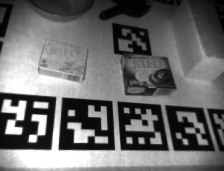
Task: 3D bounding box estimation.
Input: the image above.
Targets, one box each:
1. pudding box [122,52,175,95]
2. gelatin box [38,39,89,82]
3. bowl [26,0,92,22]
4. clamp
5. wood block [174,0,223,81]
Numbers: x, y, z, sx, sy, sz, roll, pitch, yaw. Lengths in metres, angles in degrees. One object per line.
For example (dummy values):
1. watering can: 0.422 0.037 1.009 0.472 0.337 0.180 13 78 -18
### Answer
1. pudding box: 0.082 -0.026 0.494 0.114 0.038 0.089 4 66 -14
2. gelatin box: -0.099 -0.052 0.449 0.090 0.030 0.073 12 61 -12
3. bowl: -0.128 -0.208 0.517 0.163 0.055 0.161 8 63 -16
4. clamp: 0.023 -0.226 0.590 0.167 0.036 0.121 -4 64 -23
5. wood block: 0.237 -0.127 0.569 0.090 0.090 0.205 8 61 -15
